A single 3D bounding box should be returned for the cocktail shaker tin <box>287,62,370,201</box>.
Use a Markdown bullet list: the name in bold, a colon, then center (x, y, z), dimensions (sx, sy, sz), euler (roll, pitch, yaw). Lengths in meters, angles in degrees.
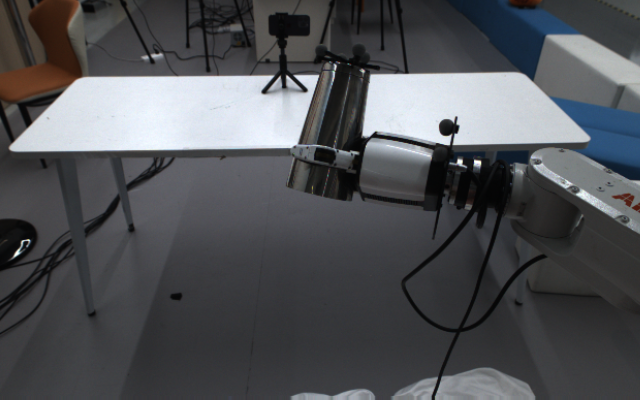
- **cocktail shaker tin**: center (0.016, -0.092, 0.651), dimensions (0.093, 0.170, 0.093), euler (13, 4, -1)
